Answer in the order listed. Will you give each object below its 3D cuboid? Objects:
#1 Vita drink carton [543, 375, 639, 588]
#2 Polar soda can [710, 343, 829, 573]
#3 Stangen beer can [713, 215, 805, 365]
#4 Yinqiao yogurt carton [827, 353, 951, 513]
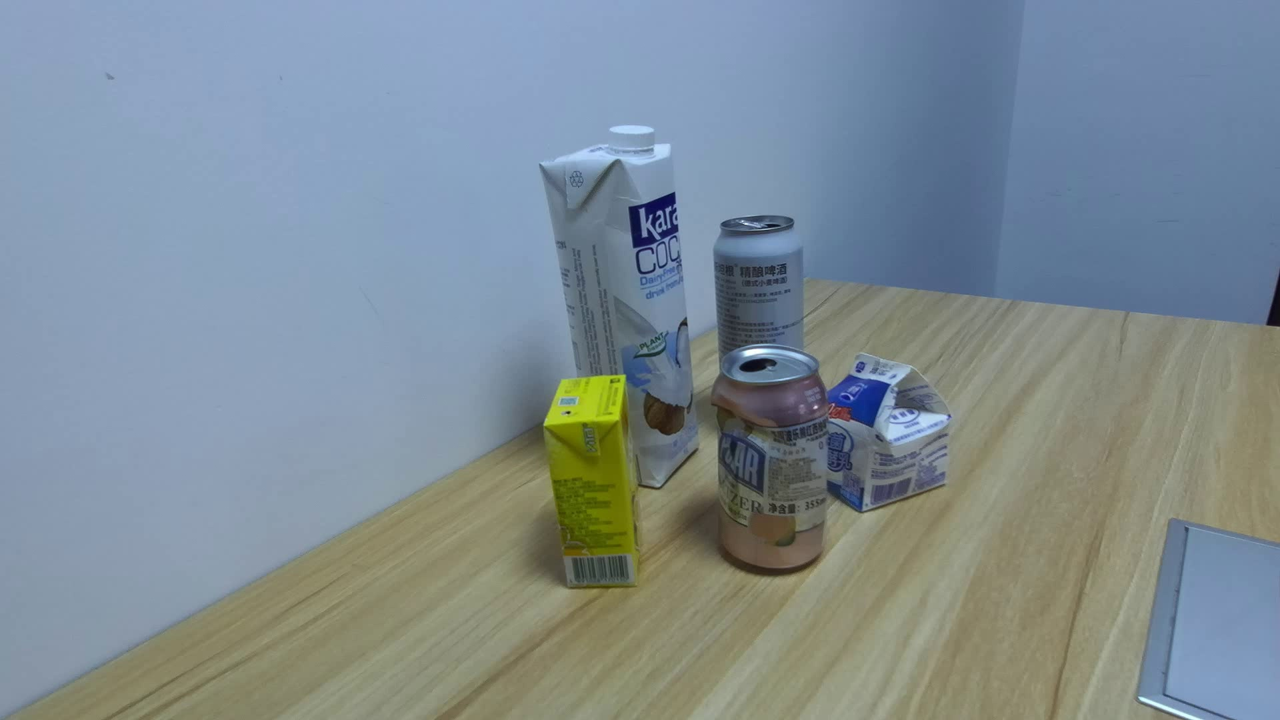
[{"bbox_3d":[-0.026,0.071,0.423,0.043,0.109,0.066,-4,22,4],"label":"Vita drink carton"},{"bbox_3d":[0.077,0.058,0.417,0.067,0.122,0.074,2,22,16],"label":"Polar soda can"},{"bbox_3d":[0.093,-0.023,0.547,0.067,0.171,0.067,-5,22,2],"label":"Stangen beer can"},{"bbox_3d":[0.160,0.039,0.477,0.077,0.093,0.083,-12,23,-19],"label":"Yinqiao yogurt carton"}]
